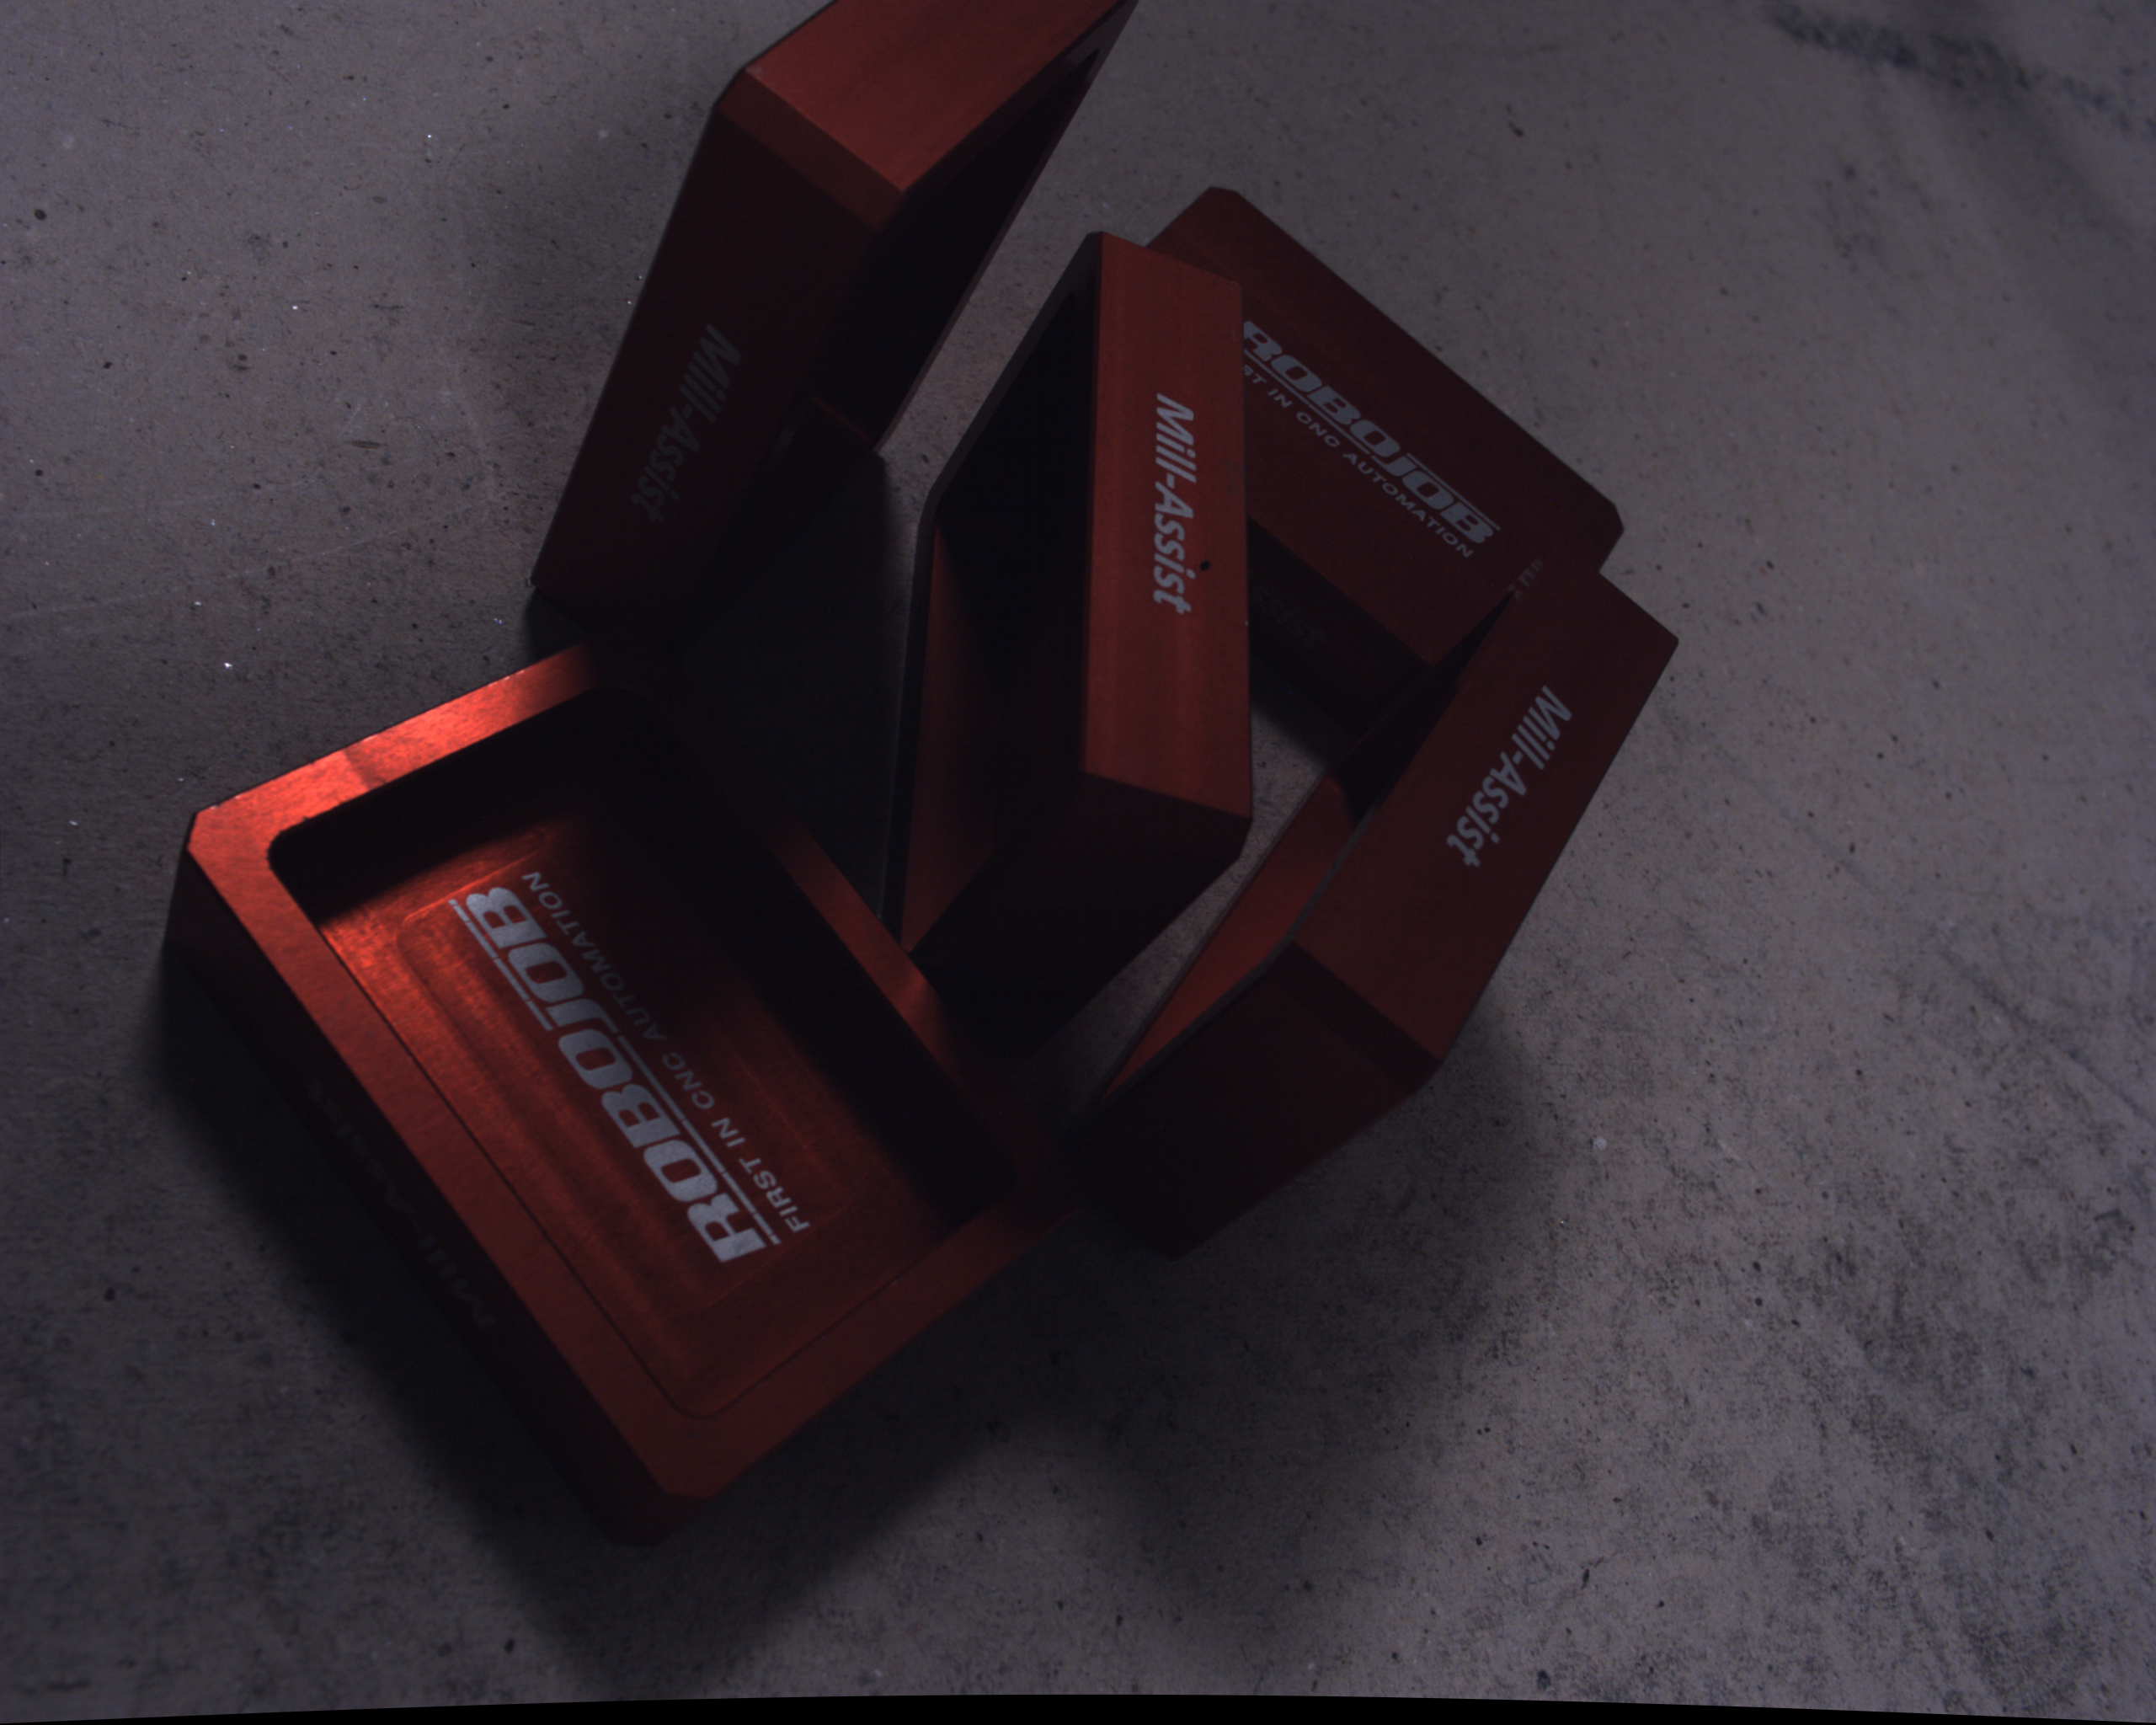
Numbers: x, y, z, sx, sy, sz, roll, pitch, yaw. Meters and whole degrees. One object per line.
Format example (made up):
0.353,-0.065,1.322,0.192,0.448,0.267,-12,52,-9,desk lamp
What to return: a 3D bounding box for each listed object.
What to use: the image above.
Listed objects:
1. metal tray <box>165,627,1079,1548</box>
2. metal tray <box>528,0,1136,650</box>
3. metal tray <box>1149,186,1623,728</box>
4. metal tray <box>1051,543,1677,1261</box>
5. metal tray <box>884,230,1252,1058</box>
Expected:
-0.073,0.032,0.344,0.091,0.030,0.130,-33,80,-38,metal tray
-0.047,-0.101,0.376,0.030,0.129,0.090,38,51,-4,metal tray
0.057,-0.091,0.490,0.130,0.030,0.090,39,51,-2,metal tray
0.055,0.006,0.391,0.030,0.090,0.131,40,51,-2,metal tray
-0.003,-0.040,0.387,0.030,0.090,0.130,16,55,-20,metal tray
